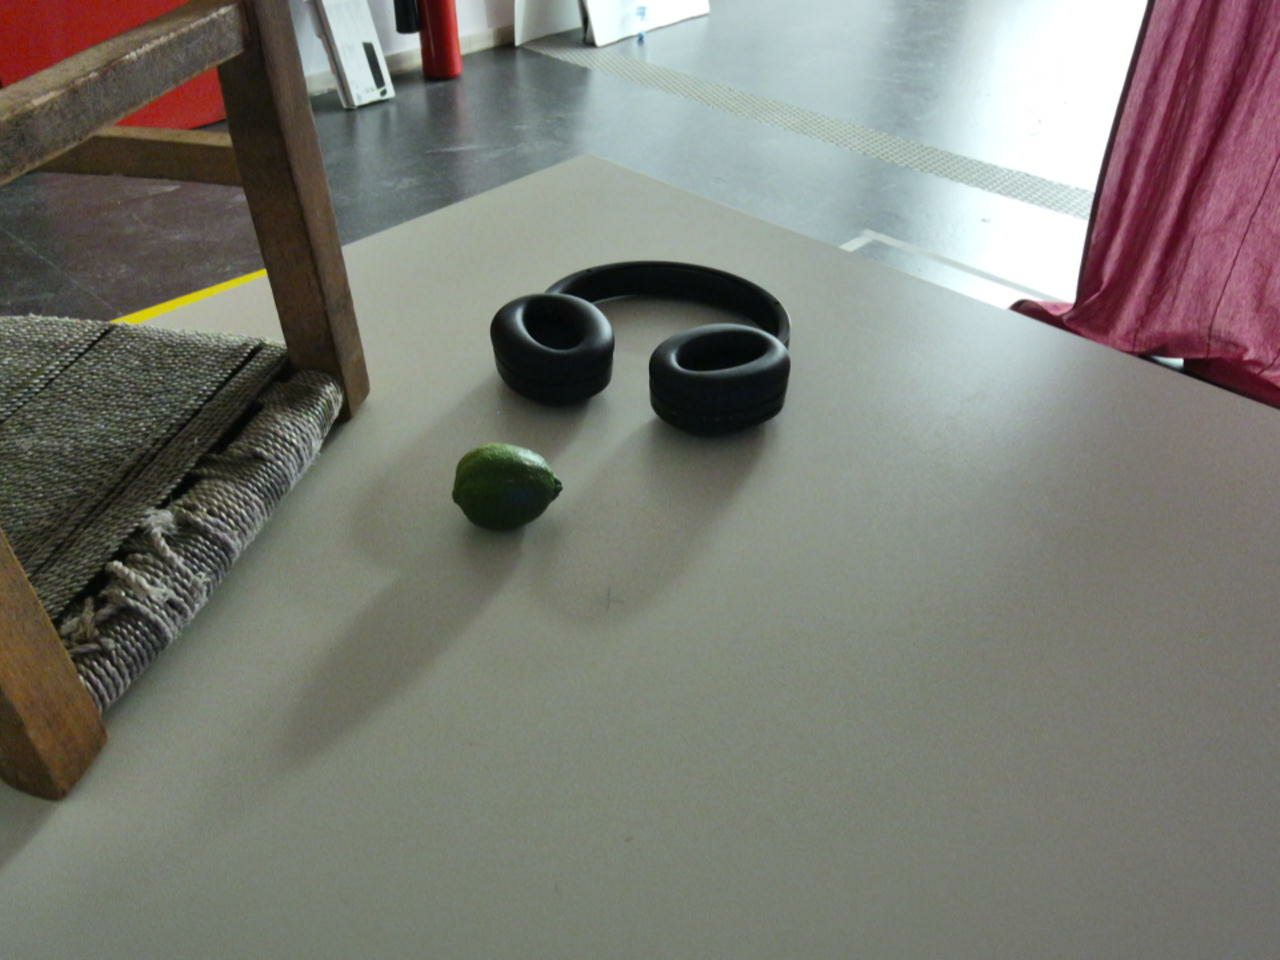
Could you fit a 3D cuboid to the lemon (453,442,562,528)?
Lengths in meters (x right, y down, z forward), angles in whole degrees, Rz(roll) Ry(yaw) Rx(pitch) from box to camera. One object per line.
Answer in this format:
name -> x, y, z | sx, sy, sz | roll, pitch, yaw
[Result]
lemon -> -0.080, 0.002, 0.580 | 0.054, 0.051, 0.057 | 26, 44, 29
